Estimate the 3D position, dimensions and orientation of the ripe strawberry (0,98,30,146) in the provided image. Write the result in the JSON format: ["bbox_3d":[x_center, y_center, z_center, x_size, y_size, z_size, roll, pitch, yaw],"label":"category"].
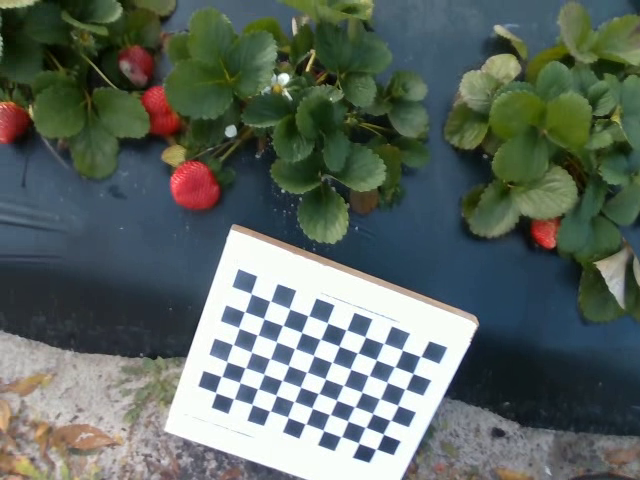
[{"bbox_3d":[-0.141,-0.049,0.243,0.018,0.022,0.017,0,-25,2],"label":"ripe strawberry"}]

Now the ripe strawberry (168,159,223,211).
[{"bbox_3d":[-0.061,-0.023,0.245,0.022,0.025,0.030,13,27,25],"label":"ripe strawberry"}]
